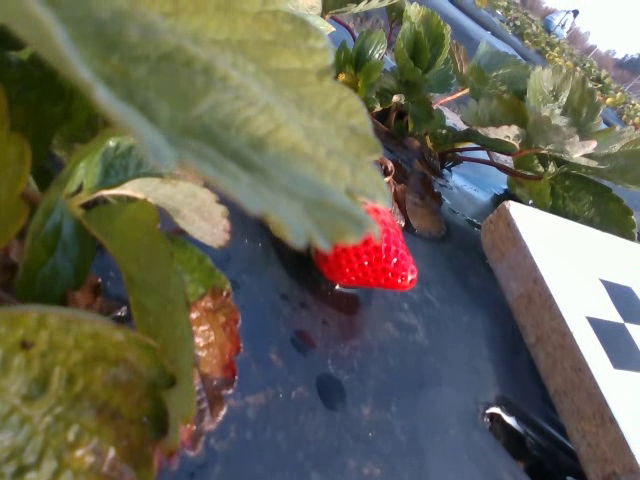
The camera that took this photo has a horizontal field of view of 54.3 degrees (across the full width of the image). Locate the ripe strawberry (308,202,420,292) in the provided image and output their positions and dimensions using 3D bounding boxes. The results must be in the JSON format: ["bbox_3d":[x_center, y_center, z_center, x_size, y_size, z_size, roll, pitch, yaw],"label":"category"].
[{"bbox_3d":[0.015,0.003,0.200,0.035,0.043,0.030,-25,-24,-51],"label":"ripe strawberry"}]
